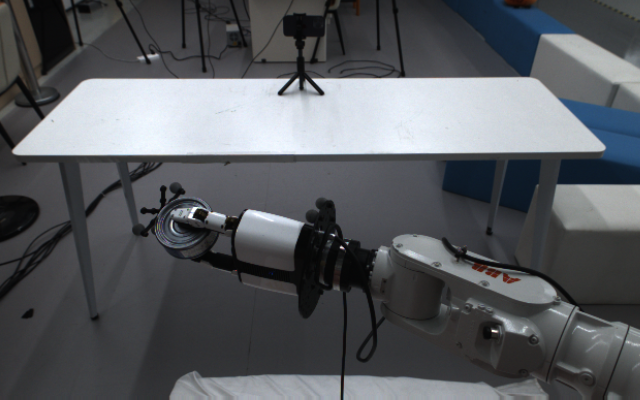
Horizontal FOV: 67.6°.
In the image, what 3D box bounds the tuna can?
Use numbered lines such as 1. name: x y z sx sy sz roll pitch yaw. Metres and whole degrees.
1. tuna can: -0.185 0.040 0.686 0.085 0.034 0.085 -1 63 1
